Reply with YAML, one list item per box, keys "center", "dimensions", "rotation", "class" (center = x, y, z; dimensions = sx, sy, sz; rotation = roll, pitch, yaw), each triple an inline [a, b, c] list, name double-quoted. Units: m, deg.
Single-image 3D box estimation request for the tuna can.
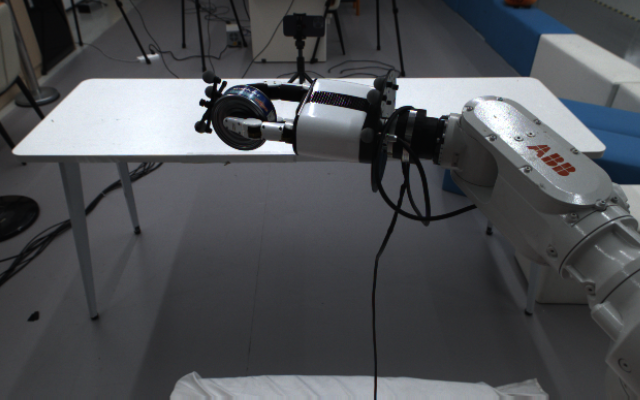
- center: [-0.102, -0.110, 0.664]
  dimensions: [0.085, 0.085, 0.034]
  rotation: [8, 36, 9]
  class: "tuna can"
